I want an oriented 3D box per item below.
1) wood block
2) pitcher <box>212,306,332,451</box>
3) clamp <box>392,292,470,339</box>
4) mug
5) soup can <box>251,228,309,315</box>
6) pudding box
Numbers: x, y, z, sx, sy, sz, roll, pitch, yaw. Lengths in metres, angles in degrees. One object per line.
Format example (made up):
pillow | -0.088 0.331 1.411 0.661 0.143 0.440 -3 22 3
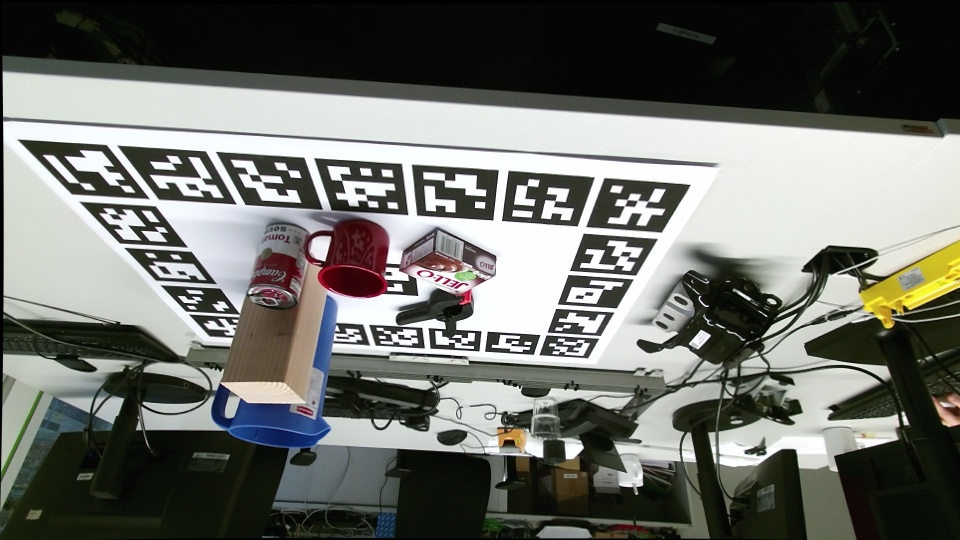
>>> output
wood block | -0.298 0.092 0.790 0.090 0.205 0.091 4 148 3
pitcher | -0.329 0.169 0.885 0.189 0.241 0.133 0 150 -2
clamp | -0.069 0.078 0.928 0.122 0.036 0.165 26 141 -21
mug | -0.181 -0.014 0.733 0.118 0.081 0.093 23 144 -32
soup can | -0.276 0.001 0.742 0.068 0.101 0.068 1 145 1
pudding box | -0.040 -0.002 0.790 0.114 0.038 0.090 25 138 -33
